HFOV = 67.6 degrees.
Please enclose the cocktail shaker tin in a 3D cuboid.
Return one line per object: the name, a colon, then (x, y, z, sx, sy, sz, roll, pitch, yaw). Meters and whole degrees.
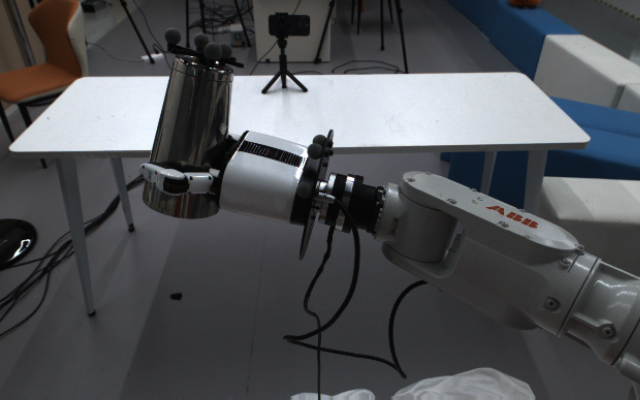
cocktail shaker tin: (-0.148, -0.073, 0.564, 0.093, 0.170, 0.093, 13, 20, -5)
